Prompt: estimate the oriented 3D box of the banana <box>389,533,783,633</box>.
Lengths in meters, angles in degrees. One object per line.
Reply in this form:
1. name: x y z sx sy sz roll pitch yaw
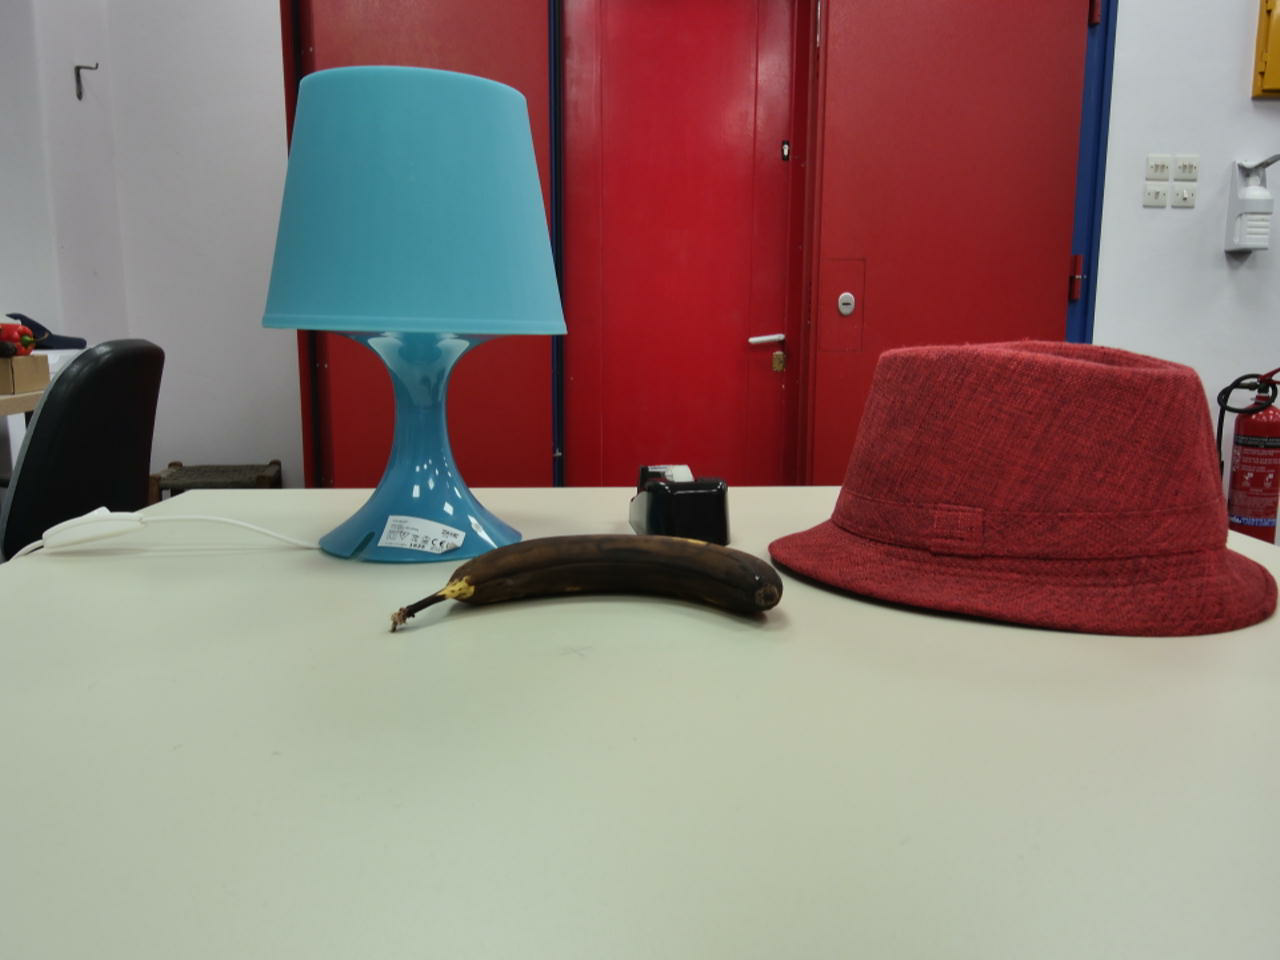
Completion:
1. banana: -0.024 0.049 0.515 0.188 0.033 0.091 0 6 1
